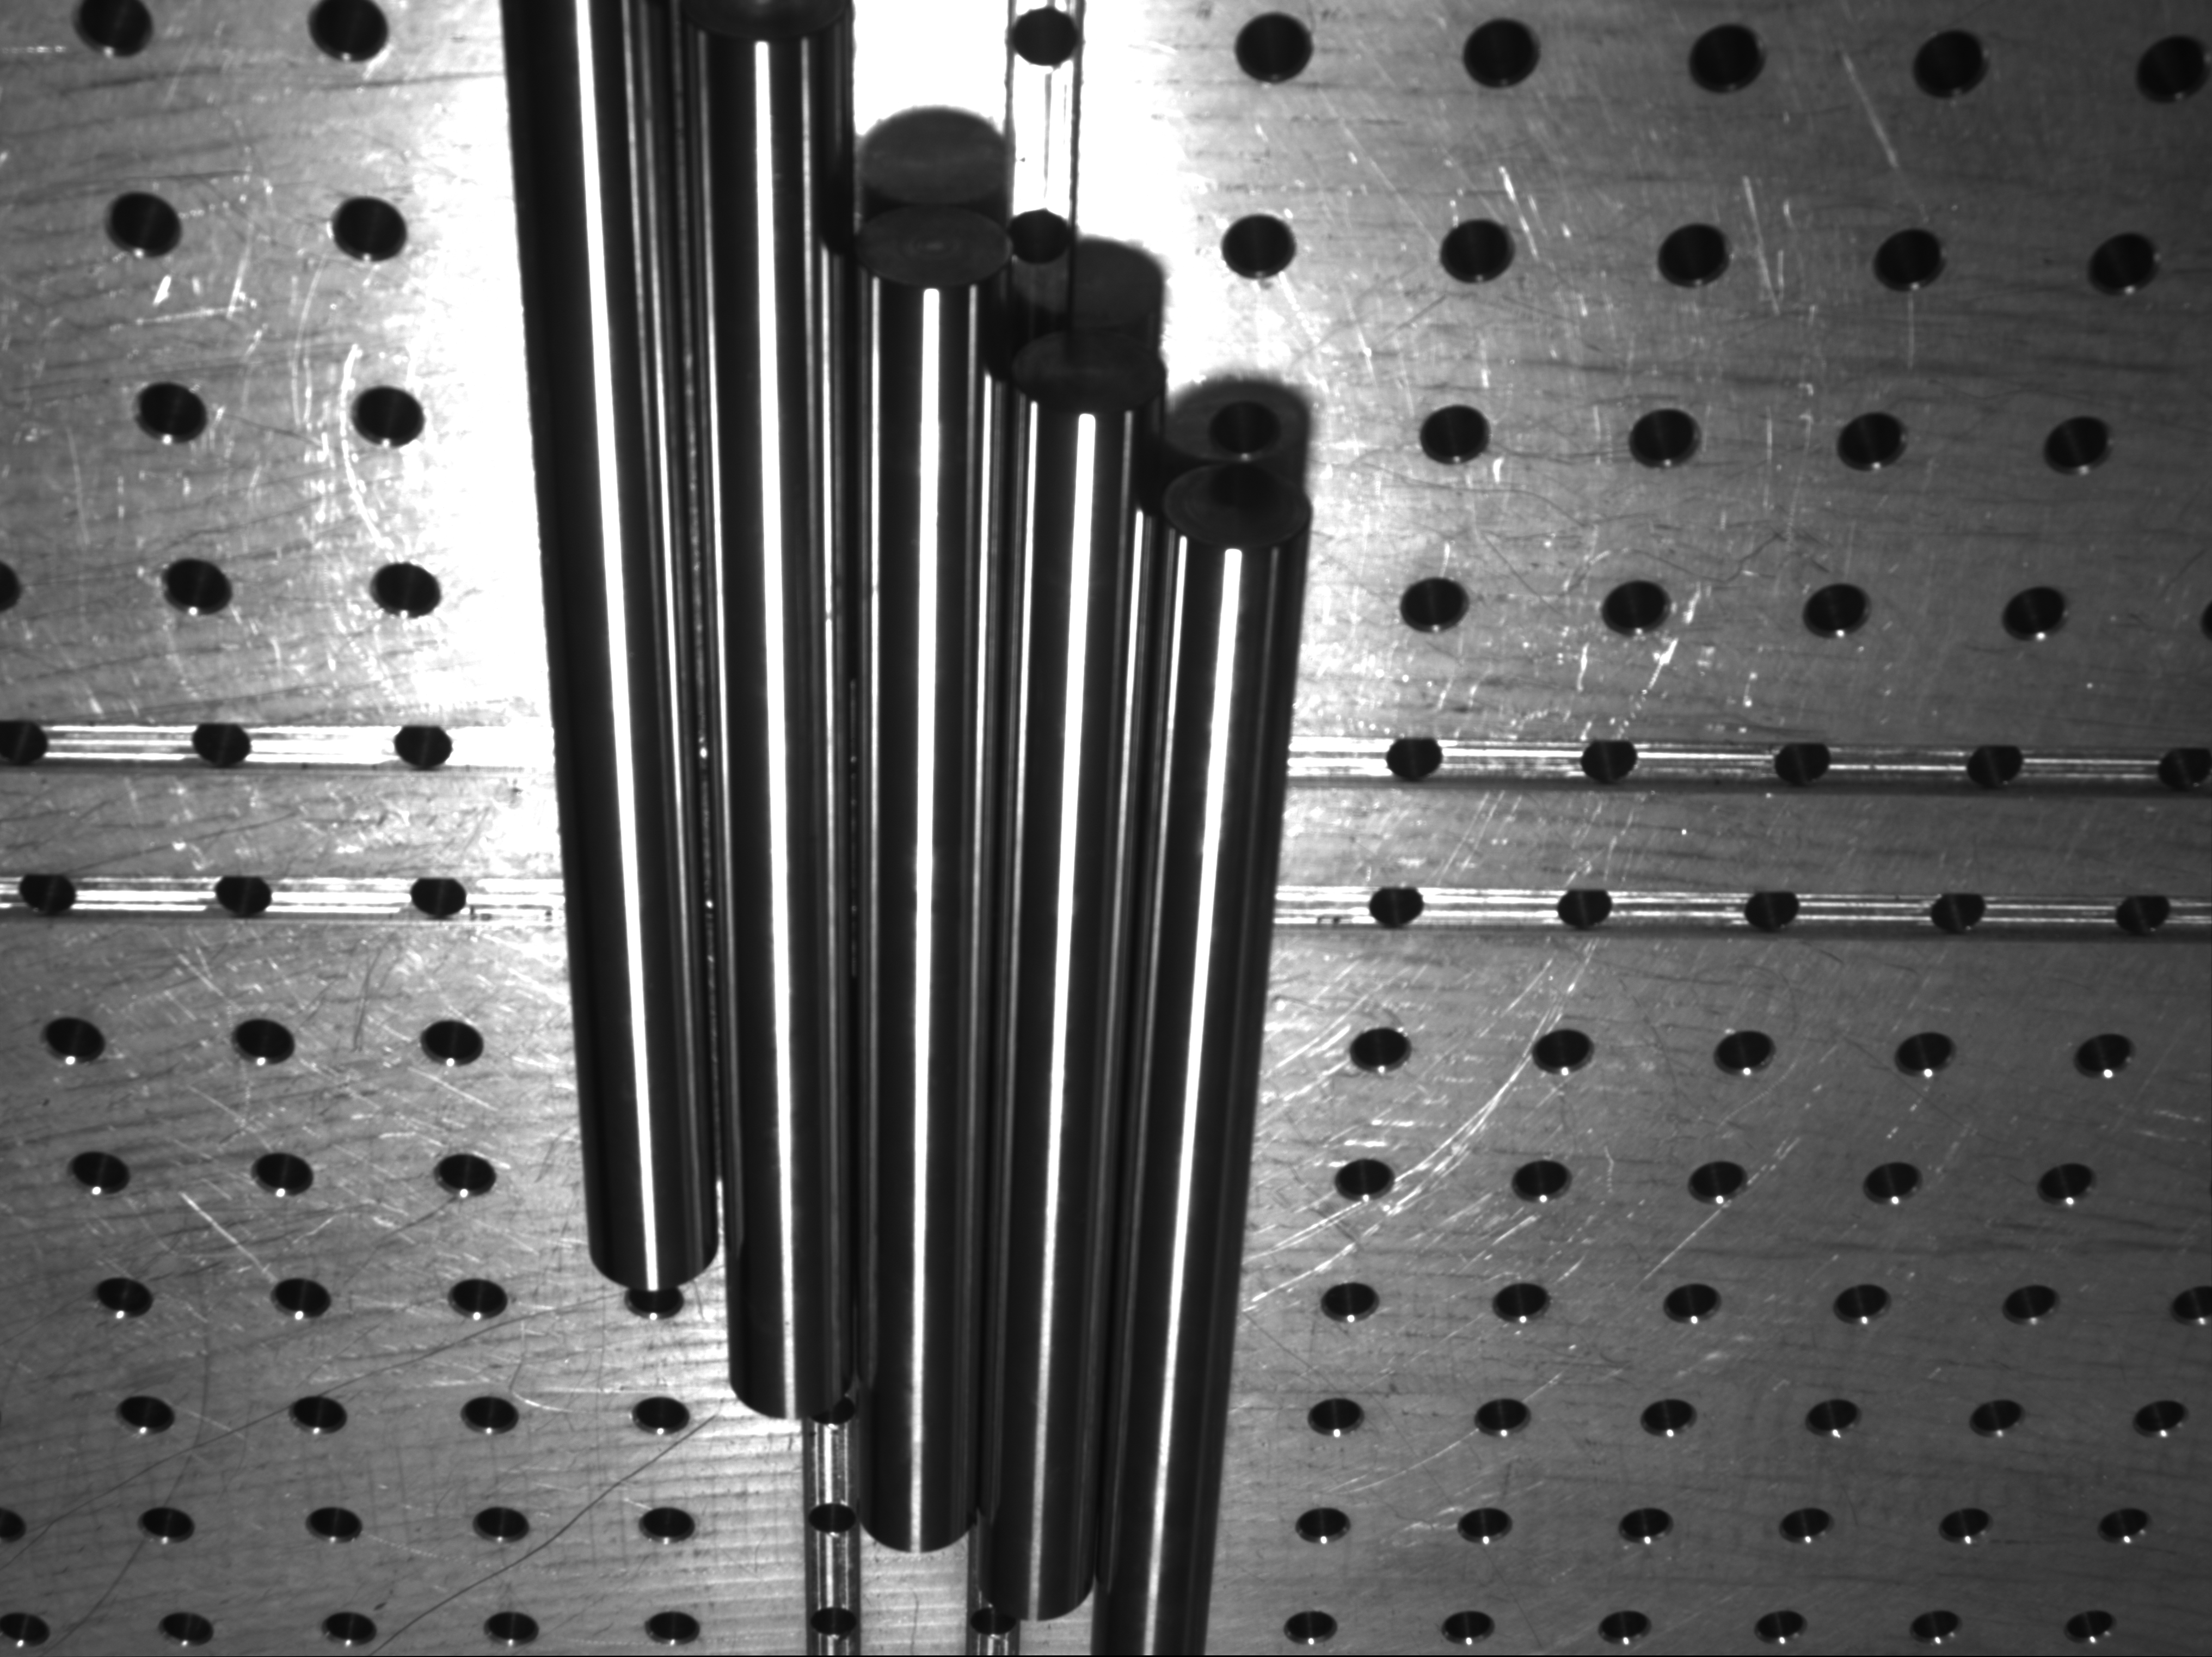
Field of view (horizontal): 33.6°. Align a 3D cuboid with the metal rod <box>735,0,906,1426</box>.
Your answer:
[{"bbox_3d":[-0.047,-0.005,0.634,0.025,0.025,0.300,1,130,-2],"label":"metal rod"}]

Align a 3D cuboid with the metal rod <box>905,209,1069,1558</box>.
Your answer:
[{"bbox_3d":[-0.024,0.026,0.661,0.025,0.025,0.300,1,130,-2],"label":"metal rod"}]

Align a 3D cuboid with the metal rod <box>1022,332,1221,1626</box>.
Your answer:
[{"bbox_3d":[0.000,0.043,0.677,0.025,0.025,0.300,1,130,-2],"label":"metal rod"}]

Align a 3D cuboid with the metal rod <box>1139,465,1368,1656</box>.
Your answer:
[{"bbox_3d":[0.025,0.063,0.694,0.025,0.025,0.300,1,130,-2],"label":"metal rod"}]

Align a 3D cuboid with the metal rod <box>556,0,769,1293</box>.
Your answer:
[{"bbox_3d":[-0.072,-0.035,0.610,0.025,0.025,0.300,1,130,-2],"label":"metal rod"}]
